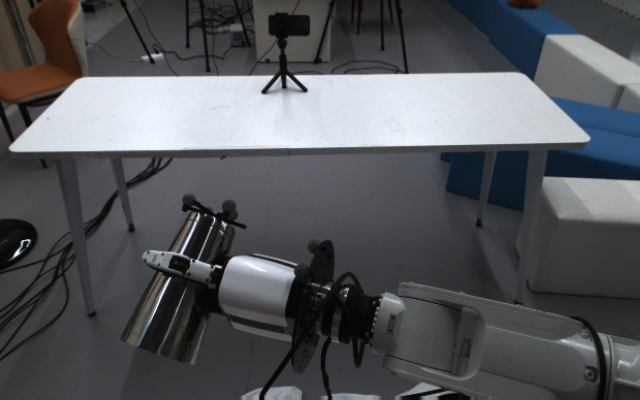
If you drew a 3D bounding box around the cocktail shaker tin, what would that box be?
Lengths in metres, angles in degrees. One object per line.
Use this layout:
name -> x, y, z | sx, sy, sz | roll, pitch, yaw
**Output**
cocktail shaker tin -> -0.167, 0.106, 0.603 | 0.093, 0.093, 0.170 | 13, 70, 16
